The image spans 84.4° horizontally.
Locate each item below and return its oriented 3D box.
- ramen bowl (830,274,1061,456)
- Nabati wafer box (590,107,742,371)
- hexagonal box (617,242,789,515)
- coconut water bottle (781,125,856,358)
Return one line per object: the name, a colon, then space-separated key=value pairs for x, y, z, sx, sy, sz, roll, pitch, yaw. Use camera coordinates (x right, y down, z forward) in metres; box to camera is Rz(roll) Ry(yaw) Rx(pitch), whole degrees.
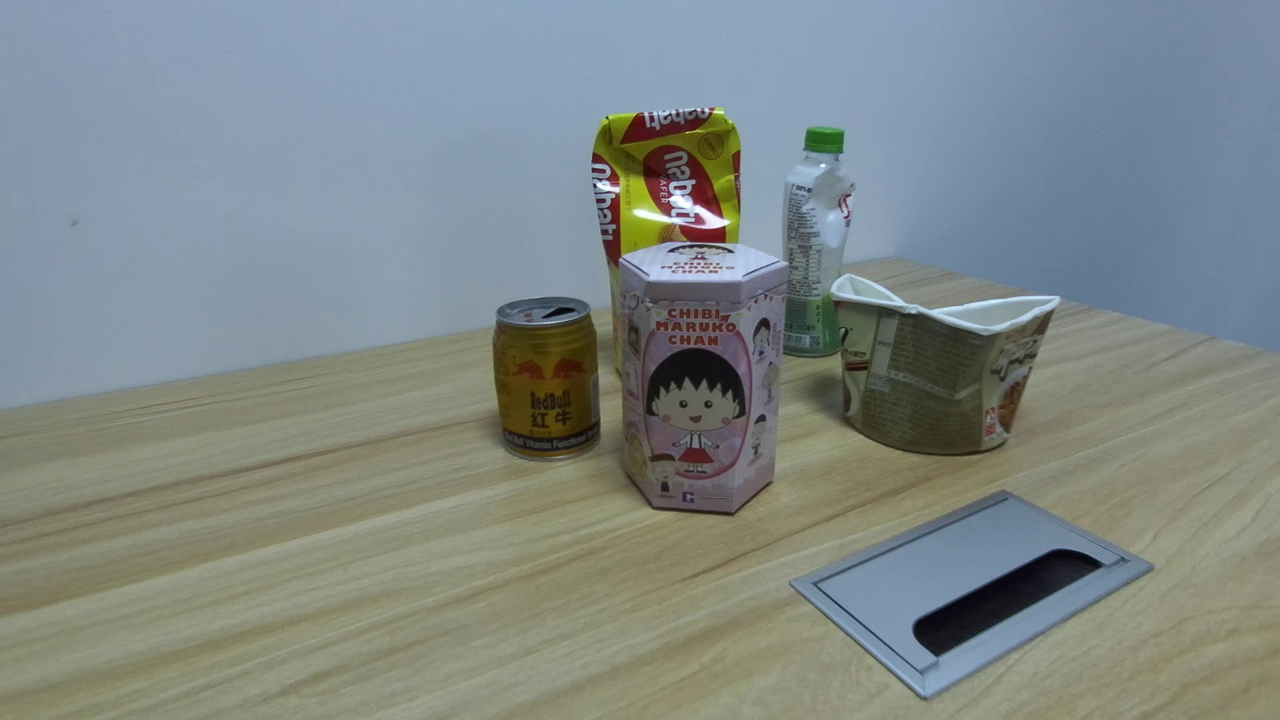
ramen bowl: x=0.194 y=-0.003 z=0.485 sx=0.112 sy=0.093 sz=0.127 roll=-20 pitch=29 yaw=-40
Nabati wafer box: x=0.025 y=-0.086 z=0.554 sx=0.113 sy=0.205 sz=0.042 roll=-7 pitch=21 yaw=-10
hexagonal box: x=0.035 y=0.009 z=0.401 sx=0.091 sy=0.136 sz=0.084 roll=2 pitch=21 yaw=8
coconut water bottle: x=0.148 y=-0.099 z=0.598 sx=0.069 sy=0.187 sz=0.069 roll=1 pitch=17 yaw=0
